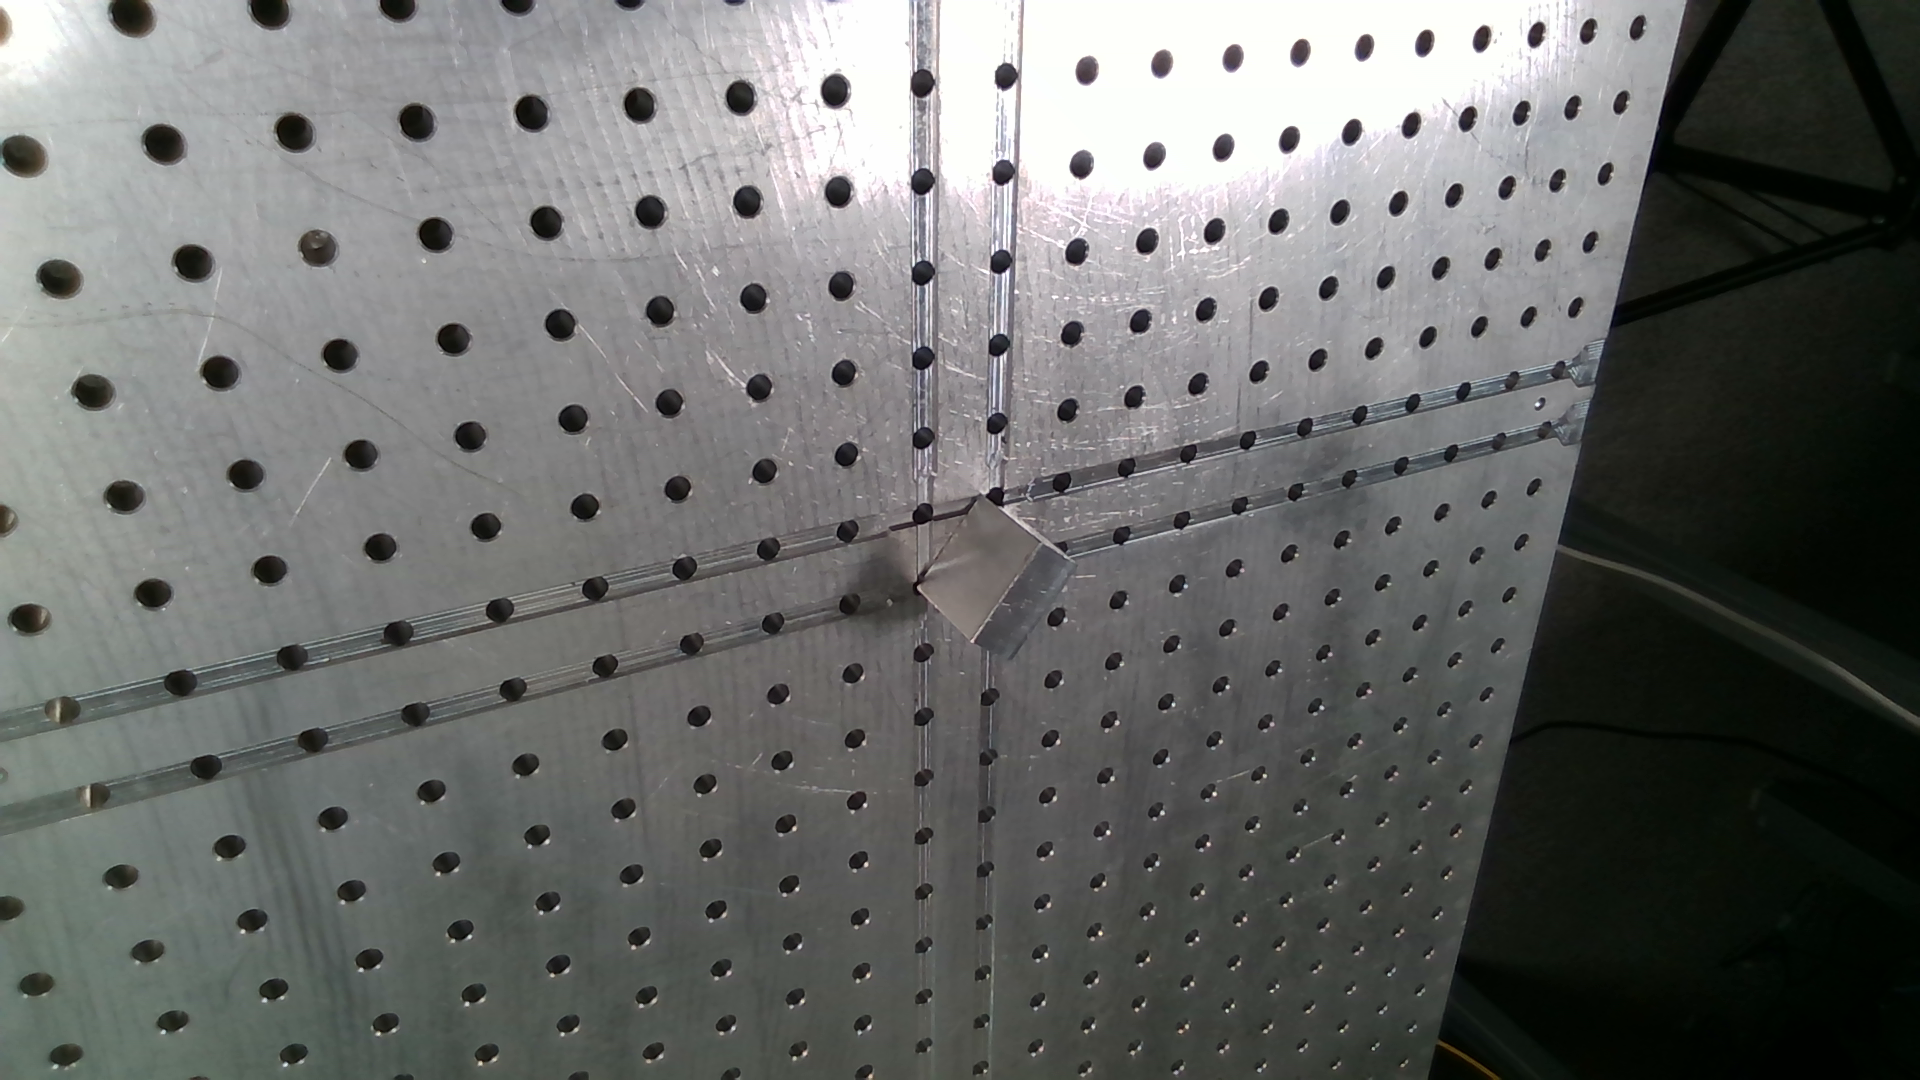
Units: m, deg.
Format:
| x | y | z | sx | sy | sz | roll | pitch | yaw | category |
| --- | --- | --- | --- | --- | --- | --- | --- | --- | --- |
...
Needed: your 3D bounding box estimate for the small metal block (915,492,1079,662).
| x | y | z | sx | sy | sz | roll | pitch | yaw | category |
| --- | --- | --- | --- | --- | --- | --- | --- | --- | --- |
| 0.015 | 0.015 | 0.585 | 0.025 | 0.050 | 0.050 | 30 | 97 | -39 | small metal block |
